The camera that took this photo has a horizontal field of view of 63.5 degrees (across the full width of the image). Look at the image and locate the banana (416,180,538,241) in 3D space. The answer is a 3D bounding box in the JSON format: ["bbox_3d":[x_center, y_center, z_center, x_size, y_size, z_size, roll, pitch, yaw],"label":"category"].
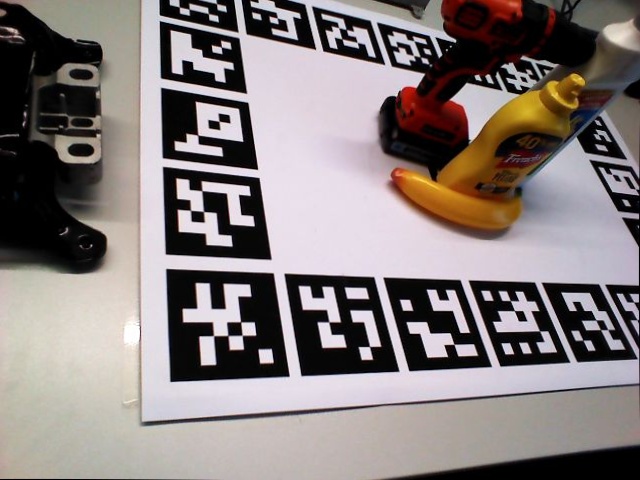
[{"bbox_3d":[0.208,-0.036,0.639,0.197,0.039,0.074,7,59,-19],"label":"banana"}]

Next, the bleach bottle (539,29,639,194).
[{"bbox_3d":[0.319,-0.161,0.629,0.102,0.252,0.067,6,53,-22],"label":"bleach bottle"}]

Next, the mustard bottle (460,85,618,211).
[{"bbox_3d":[0.255,-0.103,0.593,0.096,0.193,0.058,4,59,-24],"label":"mustard bottle"}]

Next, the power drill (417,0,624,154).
[{"bbox_3d":[0.215,-0.177,0.594,0.184,0.188,0.057,15,54,-18],"label":"power drill"}]
